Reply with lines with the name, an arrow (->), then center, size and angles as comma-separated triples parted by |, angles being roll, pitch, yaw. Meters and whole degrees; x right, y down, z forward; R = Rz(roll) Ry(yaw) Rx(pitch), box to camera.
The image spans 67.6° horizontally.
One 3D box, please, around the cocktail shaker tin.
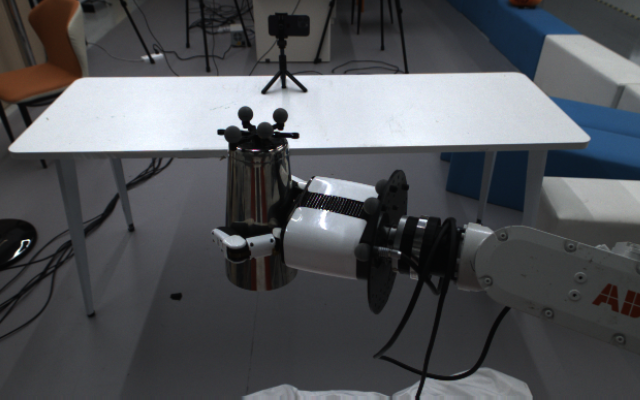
cocktail shaker tin -> -0.068, 0.011, 0.570 | 0.093, 0.170, 0.093 | 2, 28, -1
